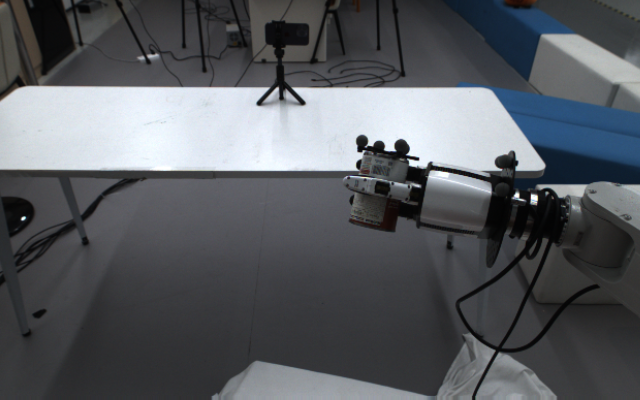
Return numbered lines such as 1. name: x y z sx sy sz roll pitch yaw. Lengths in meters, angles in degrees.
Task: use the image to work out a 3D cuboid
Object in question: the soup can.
1. soup can: 0.084 -0.012 0.682 0.067 0.101 0.067 12 2 0
